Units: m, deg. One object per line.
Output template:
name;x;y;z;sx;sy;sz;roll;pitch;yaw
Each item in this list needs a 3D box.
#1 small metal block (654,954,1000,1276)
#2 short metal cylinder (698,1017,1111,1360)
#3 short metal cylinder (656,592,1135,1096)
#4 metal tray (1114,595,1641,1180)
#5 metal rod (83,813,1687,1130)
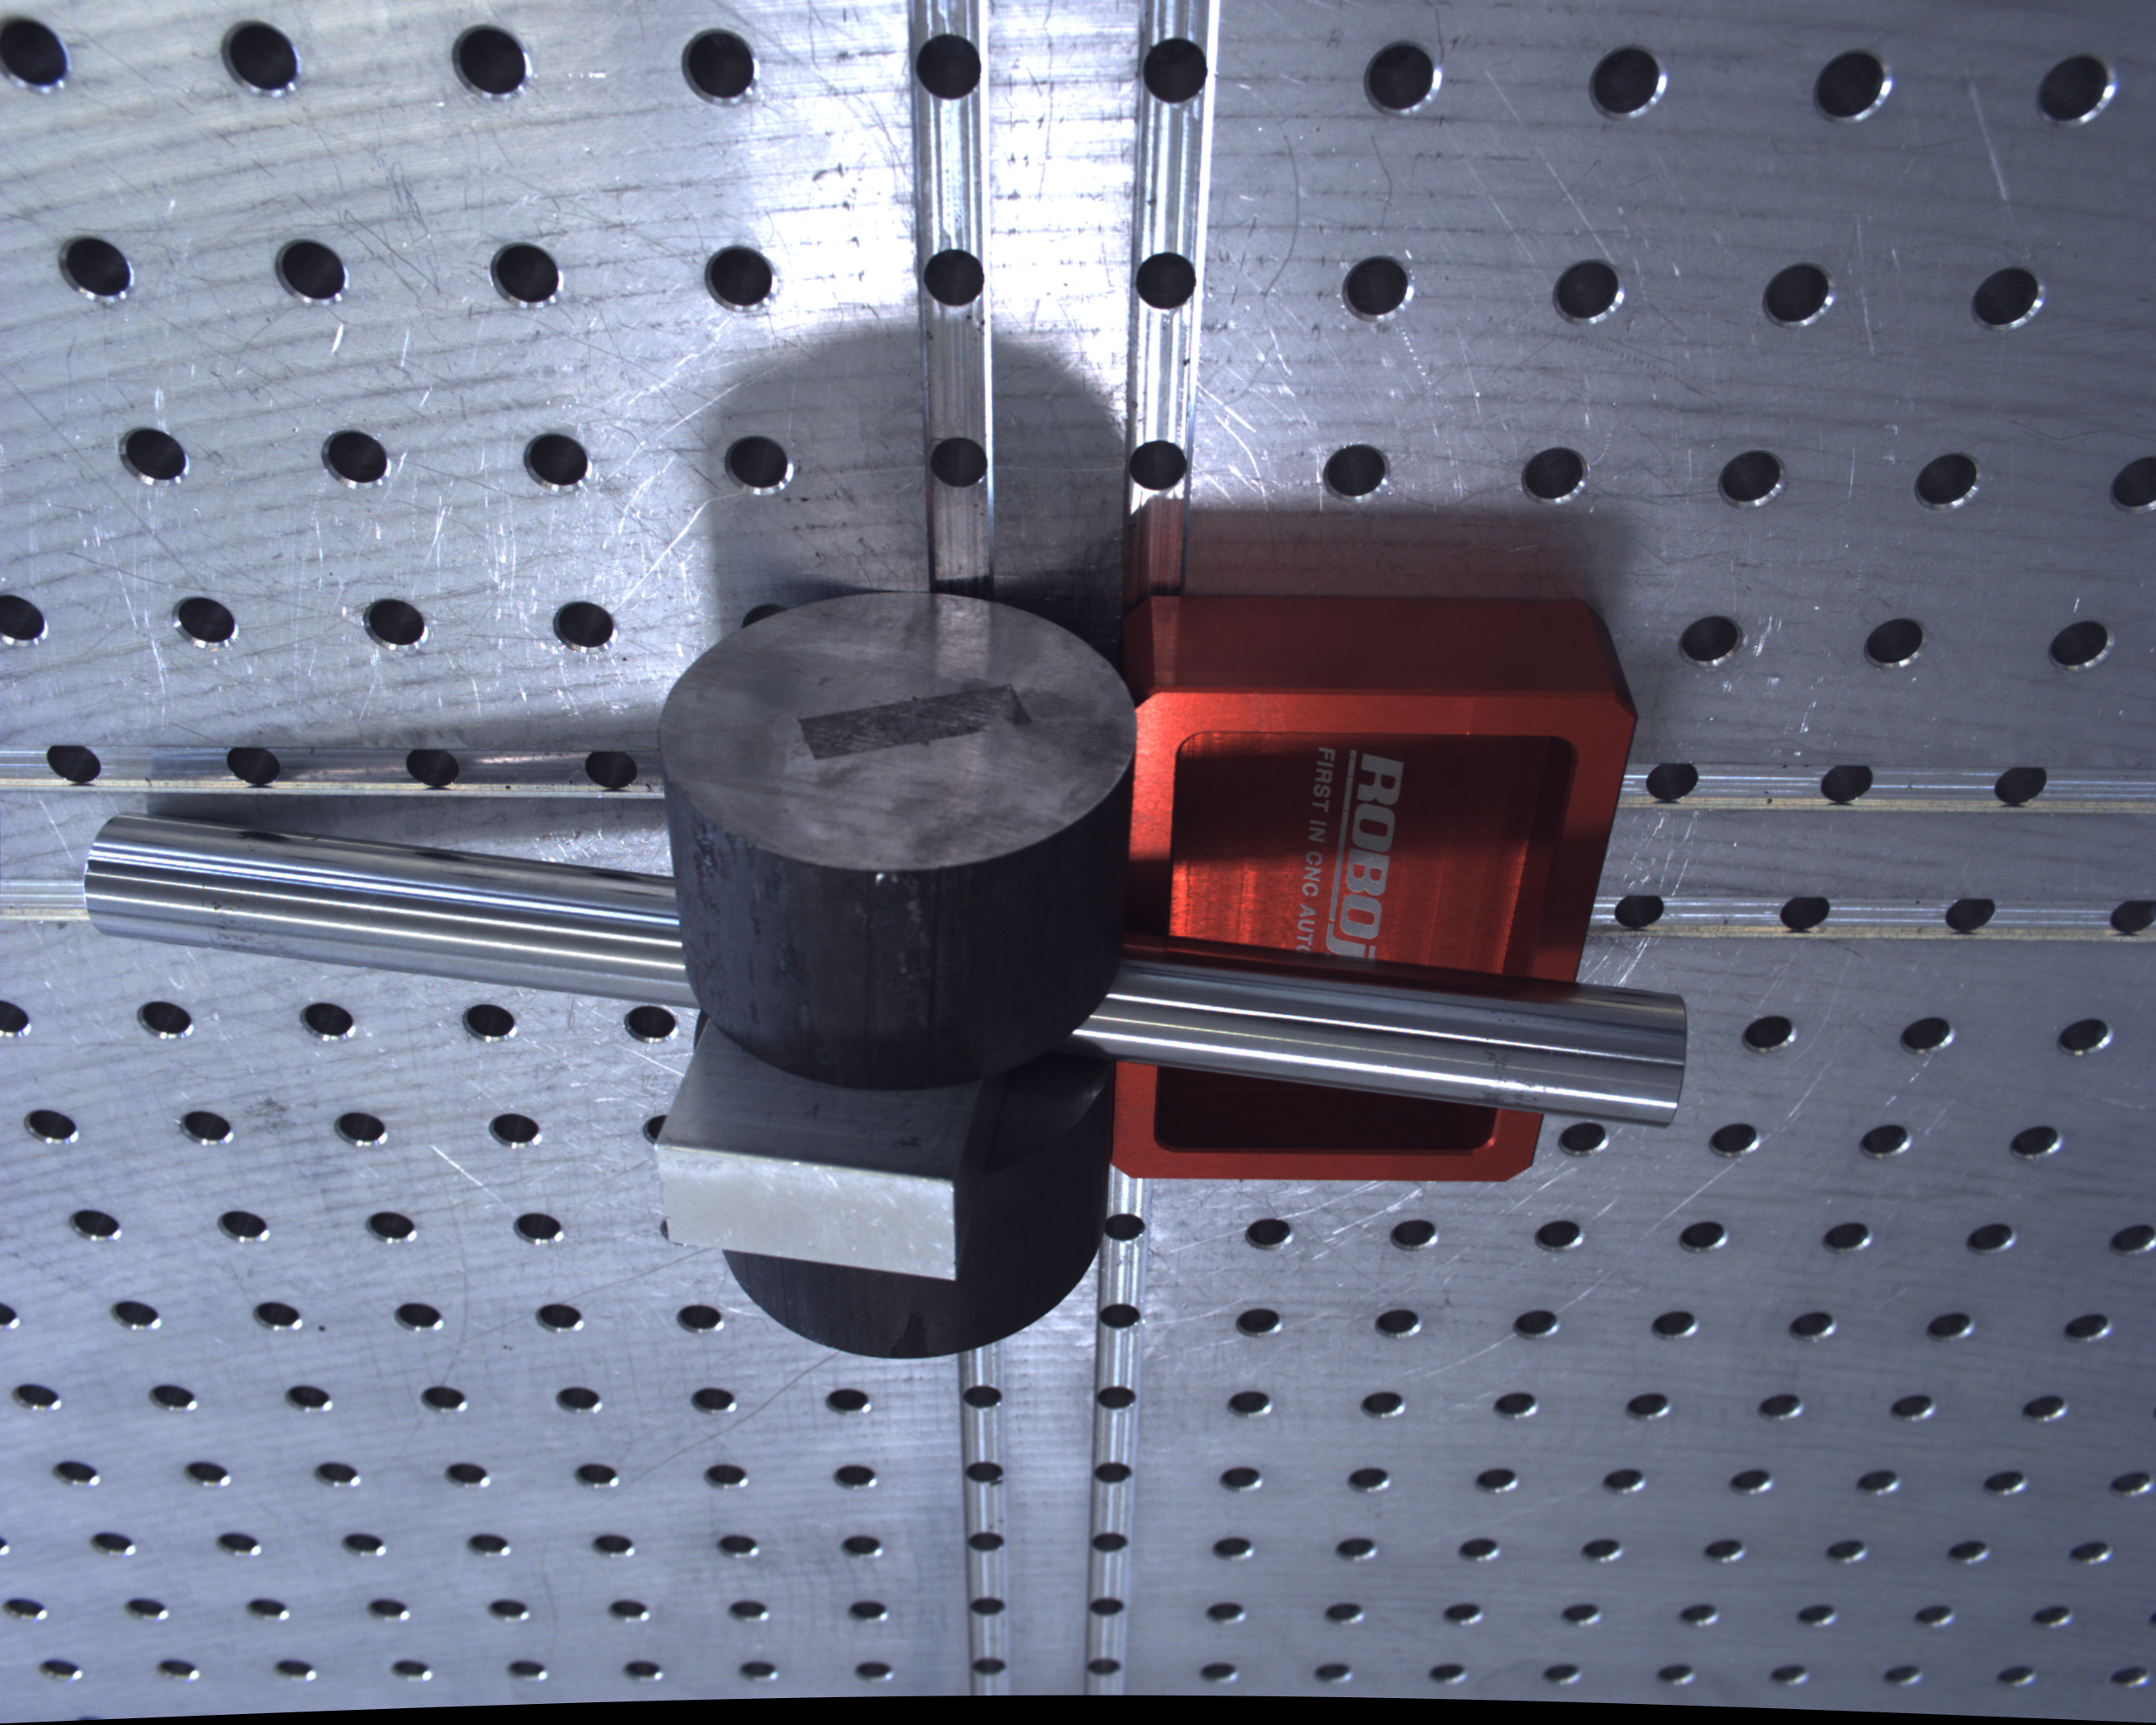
small metal block;-0.042;0.043;0.368;0.050;0.050;0.025;6;130;6
short metal cylinder;-0.034;0.052;0.418;0.081;0.080;0.050;1;130;-1
short metal cylinder;-0.031;-0.005;0.369;0.081;0.080;0.050;1;130;-1
metal tray;0.053;0.009;0.417;0.091;0.030;0.129;1;130;-1
metal rod;-0.040;0.020;0.397;0.302;0.025;0.025;7;131;6
